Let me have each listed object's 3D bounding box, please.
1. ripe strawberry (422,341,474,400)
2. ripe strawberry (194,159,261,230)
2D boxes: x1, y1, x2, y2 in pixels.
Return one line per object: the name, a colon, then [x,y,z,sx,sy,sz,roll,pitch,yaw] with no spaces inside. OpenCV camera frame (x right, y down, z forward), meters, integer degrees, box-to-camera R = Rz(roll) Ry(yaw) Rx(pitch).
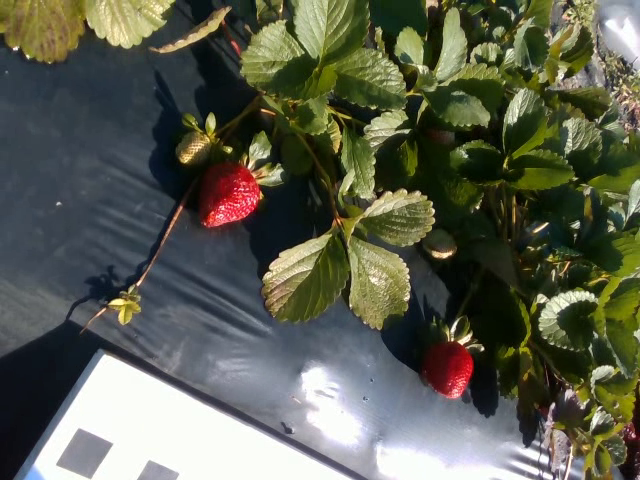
ripe strawberry: [0.092,0.097,0.430,0.043,0.043,0.050,-12,18,16]
ripe strawberry: [-0.056,-0.024,0.351,0.043,0.042,0.053,-27,29,26]
